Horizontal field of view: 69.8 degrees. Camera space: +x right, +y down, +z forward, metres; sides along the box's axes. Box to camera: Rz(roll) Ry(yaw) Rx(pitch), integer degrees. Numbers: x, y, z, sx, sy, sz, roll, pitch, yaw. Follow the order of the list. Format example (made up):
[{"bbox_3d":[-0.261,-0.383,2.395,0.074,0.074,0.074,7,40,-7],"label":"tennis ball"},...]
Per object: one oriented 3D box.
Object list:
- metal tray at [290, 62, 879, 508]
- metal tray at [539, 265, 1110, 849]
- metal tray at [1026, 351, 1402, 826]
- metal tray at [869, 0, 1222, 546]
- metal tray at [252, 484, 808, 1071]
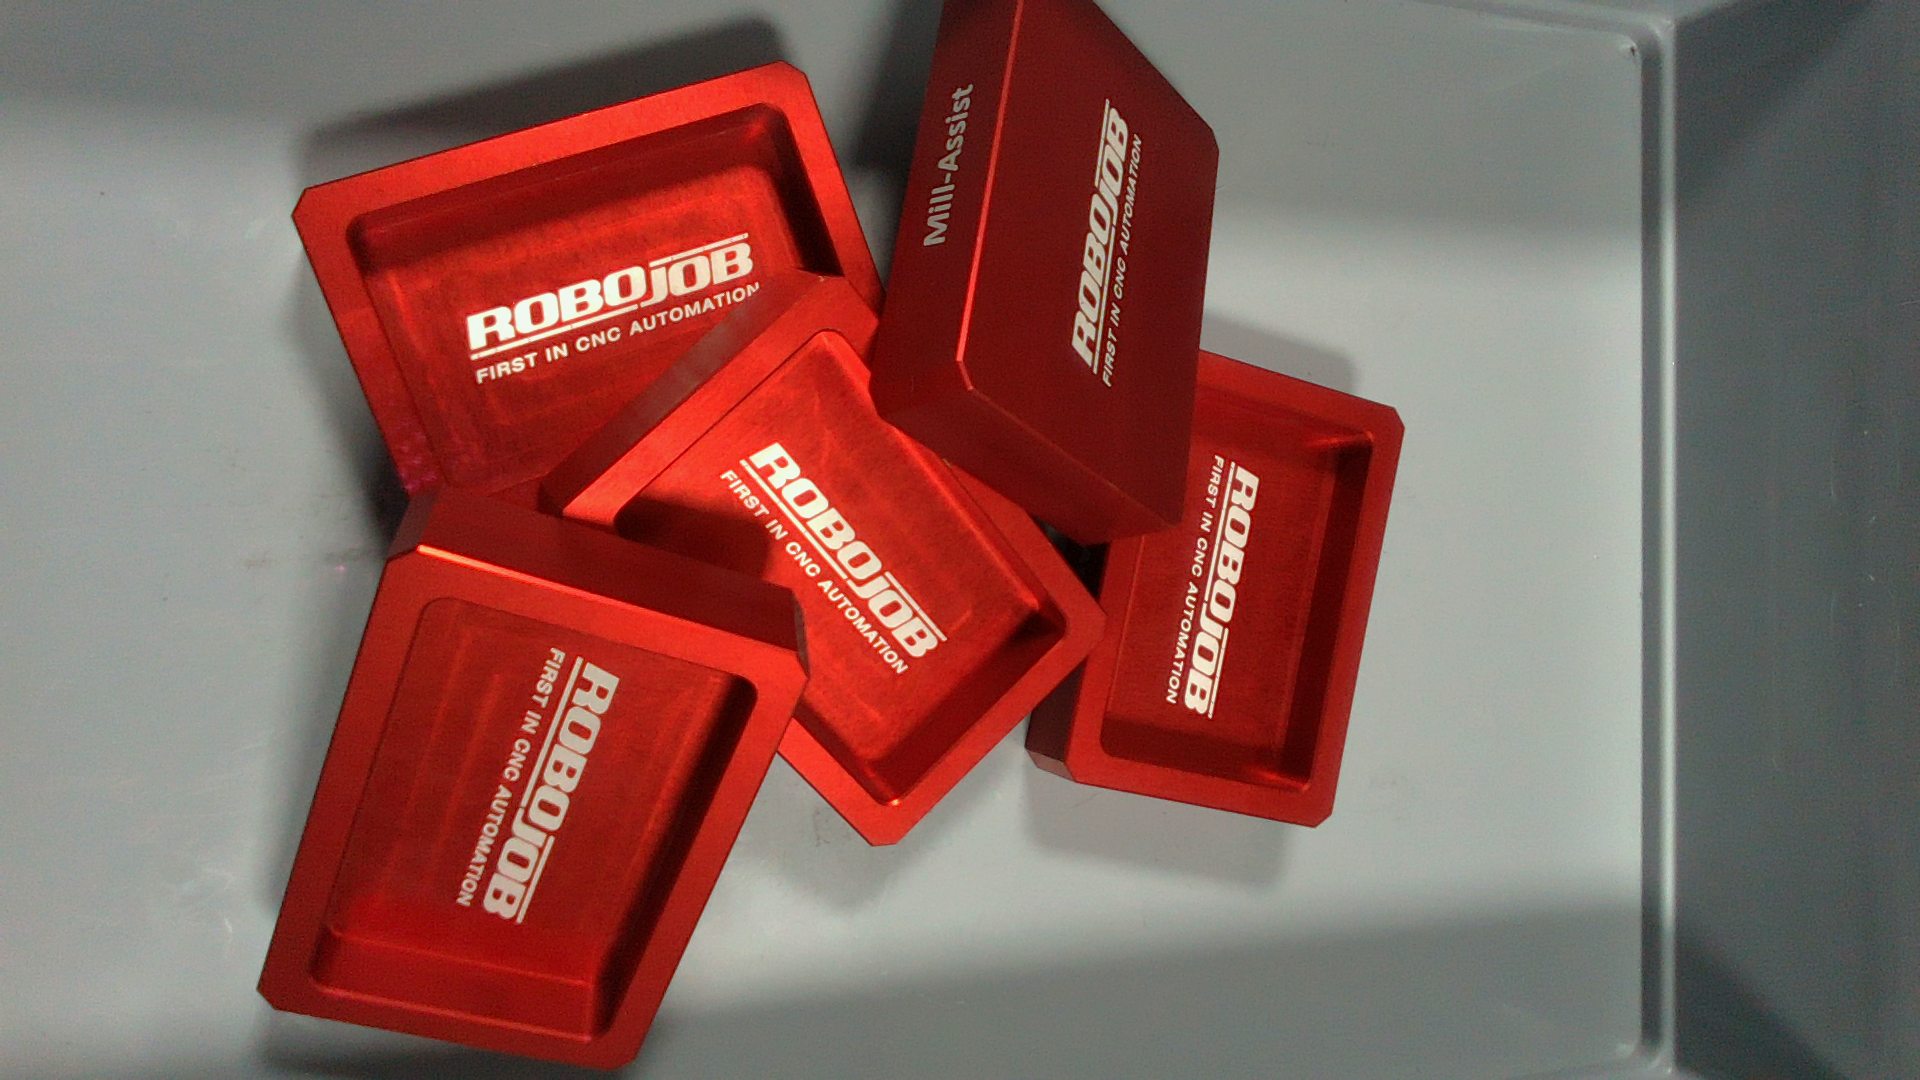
[{"bbox_3d":[-0.089,-0.061,0.357,0.130,0.030,0.090,-22,97,-19],"label":"metal tray"},{"bbox_3d":[-0.031,0.007,0.355,0.090,0.030,0.130,-43,118,-8],"label":"metal tray"},{"bbox_3d":[0.078,0.014,0.418,0.090,0.030,0.130,13,86,-20],"label":"metal tray"},{"bbox_3d":[0.028,-0.075,0.363,0.090,0.030,0.130,30,59,-40],"label":"metal tray"},{"bbox_3d":[-0.100,0.061,0.322,0.090,0.030,0.130,18,112,-19],"label":"metal tray"}]
